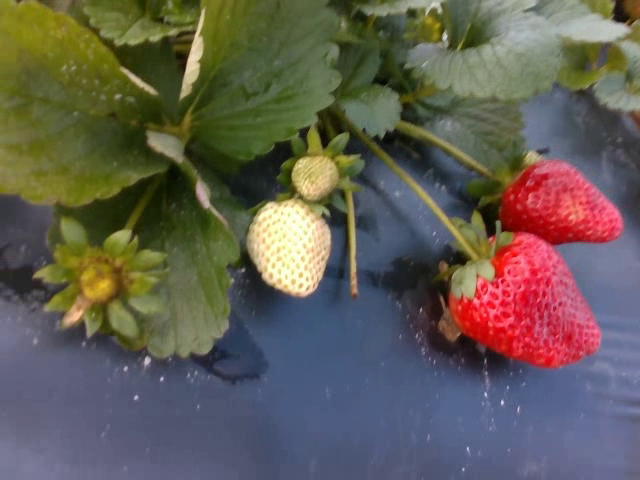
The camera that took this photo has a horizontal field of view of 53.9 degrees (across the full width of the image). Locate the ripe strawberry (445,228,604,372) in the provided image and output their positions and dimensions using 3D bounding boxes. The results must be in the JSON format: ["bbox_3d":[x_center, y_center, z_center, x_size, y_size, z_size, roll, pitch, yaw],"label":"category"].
[{"bbox_3d":[0.089,0.028,0.251,0.065,0.059,0.044,41,-11,2],"label":"ripe strawberry"}]

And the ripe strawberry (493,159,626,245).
[{"bbox_3d":[0.118,-0.015,0.292,0.059,0.051,0.051,30,-11,32],"label":"ripe strawberry"}]
